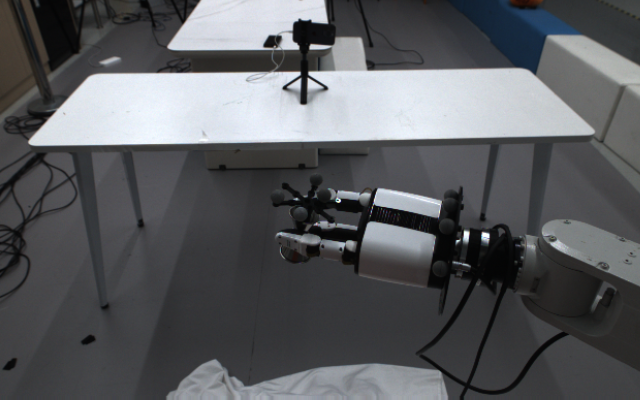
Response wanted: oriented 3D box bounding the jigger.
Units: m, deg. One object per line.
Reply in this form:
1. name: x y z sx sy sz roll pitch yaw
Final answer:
1. jigger: -0.025 0.043 0.628 0.043 0.071 0.043 10 36 -7
